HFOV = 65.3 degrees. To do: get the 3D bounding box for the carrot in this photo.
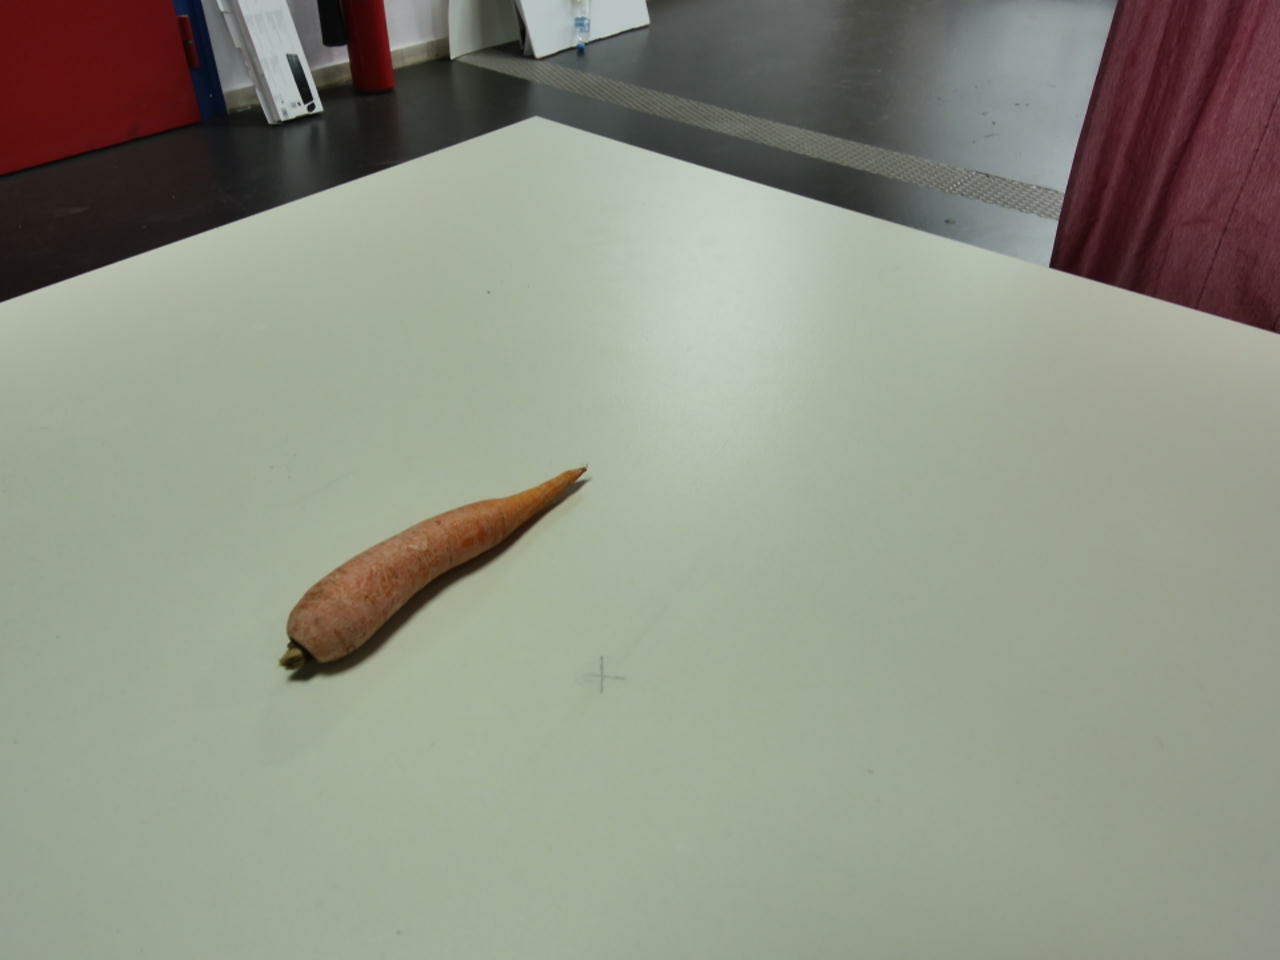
[{"bbox_3d":[-0.081,0.026,0.417,0.031,0.029,0.163,25,43,30],"label":"carrot"}]
